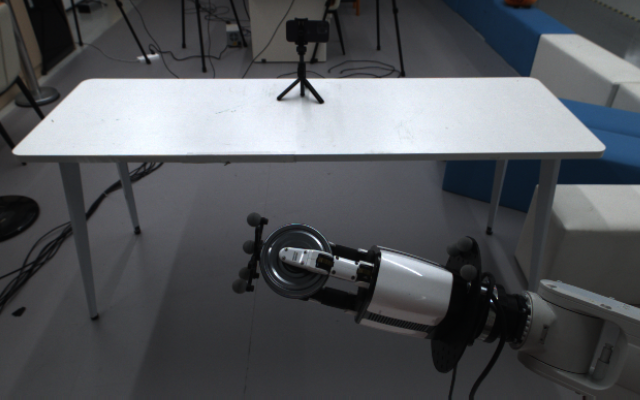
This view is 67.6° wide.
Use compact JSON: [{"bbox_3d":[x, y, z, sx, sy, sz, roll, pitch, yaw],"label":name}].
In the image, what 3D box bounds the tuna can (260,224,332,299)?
[{"bbox_3d":[-0.024,0.075,0.564,0.085,0.034,0.085,1,73,-5],"label":"tuna can"}]
